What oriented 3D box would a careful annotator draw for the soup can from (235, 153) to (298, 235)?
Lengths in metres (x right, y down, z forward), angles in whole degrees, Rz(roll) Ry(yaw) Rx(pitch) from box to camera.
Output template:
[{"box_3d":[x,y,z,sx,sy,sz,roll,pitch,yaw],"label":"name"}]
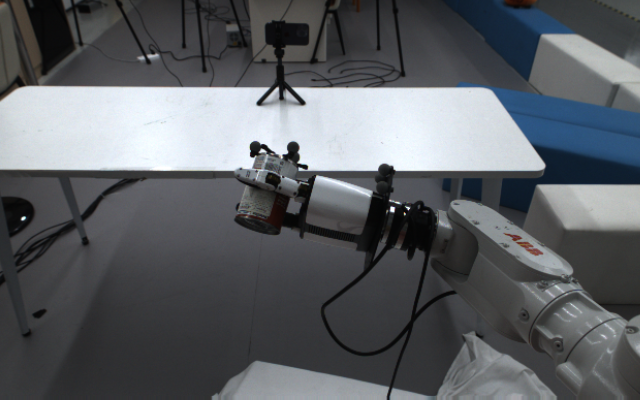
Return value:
[{"box_3d":[-0.075,-0.008,0.696,0.067,0.067,0.101,11,72,13],"label":"soup can"}]
